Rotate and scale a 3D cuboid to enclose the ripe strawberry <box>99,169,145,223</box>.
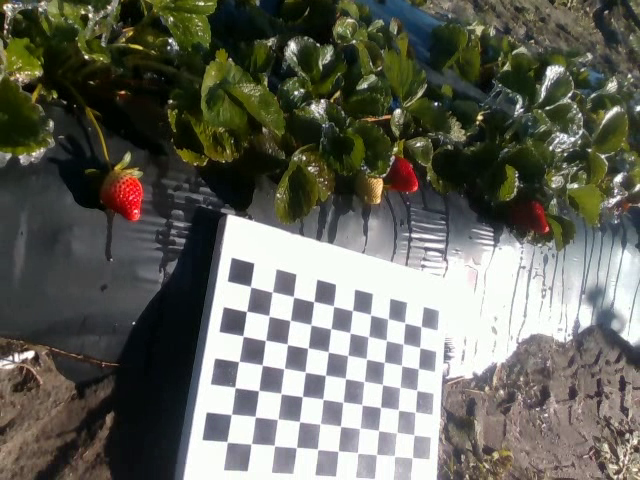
[{"bbox_3d":[-0.168,-0.036,0.473,0.039,0.053,0.041,-9,-22,-32],"label":"ripe strawberry"}]
